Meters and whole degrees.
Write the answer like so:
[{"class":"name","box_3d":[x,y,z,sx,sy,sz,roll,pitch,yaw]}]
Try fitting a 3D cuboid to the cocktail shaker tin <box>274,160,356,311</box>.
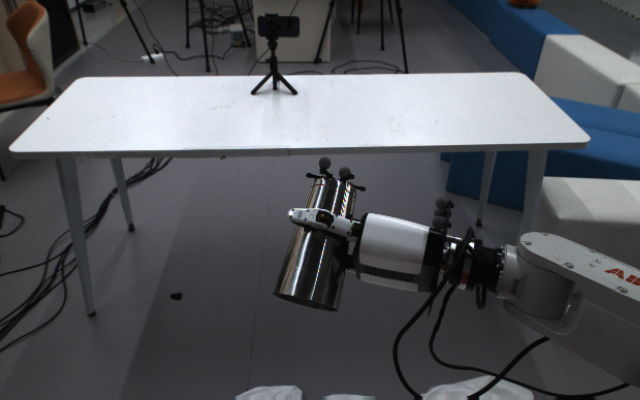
[{"class":"cocktail shaker tin","box_3d":[0.002,0.060,0.672,0.093,0.093,0.170,11,71,12]}]
